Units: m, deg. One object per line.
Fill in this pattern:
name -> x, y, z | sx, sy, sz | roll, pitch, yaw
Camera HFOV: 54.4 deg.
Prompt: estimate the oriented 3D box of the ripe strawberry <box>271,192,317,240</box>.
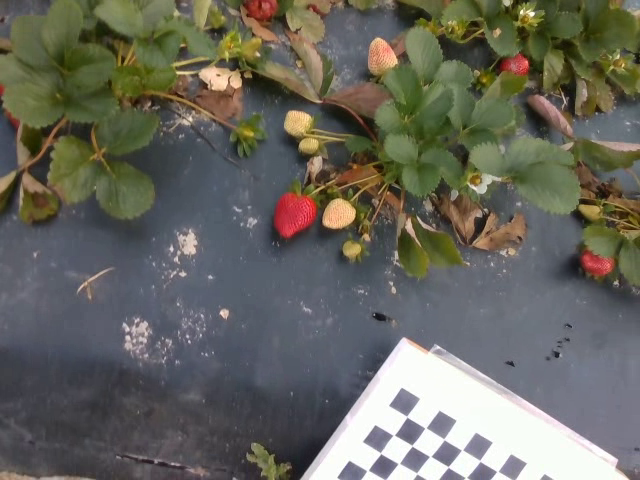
ripe strawberry -> -0.027, -0.024, 0.608 | 0.050, 0.059, 0.033 | 21, -41, -5
